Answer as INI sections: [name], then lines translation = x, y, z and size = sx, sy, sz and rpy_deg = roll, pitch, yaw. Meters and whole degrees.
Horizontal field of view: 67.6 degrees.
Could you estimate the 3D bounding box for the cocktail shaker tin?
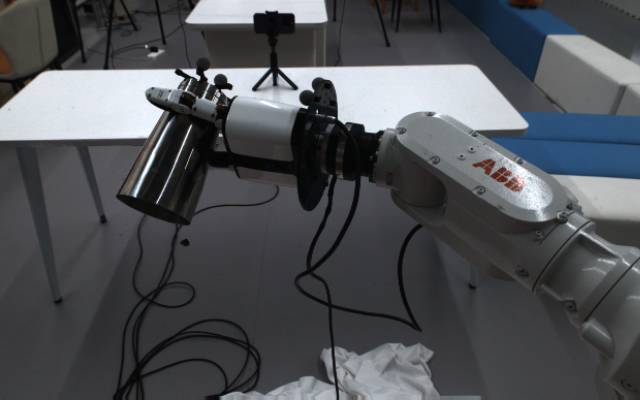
[cocktail shaker tin]
translation = -0.175, -0.066, 0.611
size = 0.093, 0.093, 0.170
rpy_deg = 13, 72, 15
